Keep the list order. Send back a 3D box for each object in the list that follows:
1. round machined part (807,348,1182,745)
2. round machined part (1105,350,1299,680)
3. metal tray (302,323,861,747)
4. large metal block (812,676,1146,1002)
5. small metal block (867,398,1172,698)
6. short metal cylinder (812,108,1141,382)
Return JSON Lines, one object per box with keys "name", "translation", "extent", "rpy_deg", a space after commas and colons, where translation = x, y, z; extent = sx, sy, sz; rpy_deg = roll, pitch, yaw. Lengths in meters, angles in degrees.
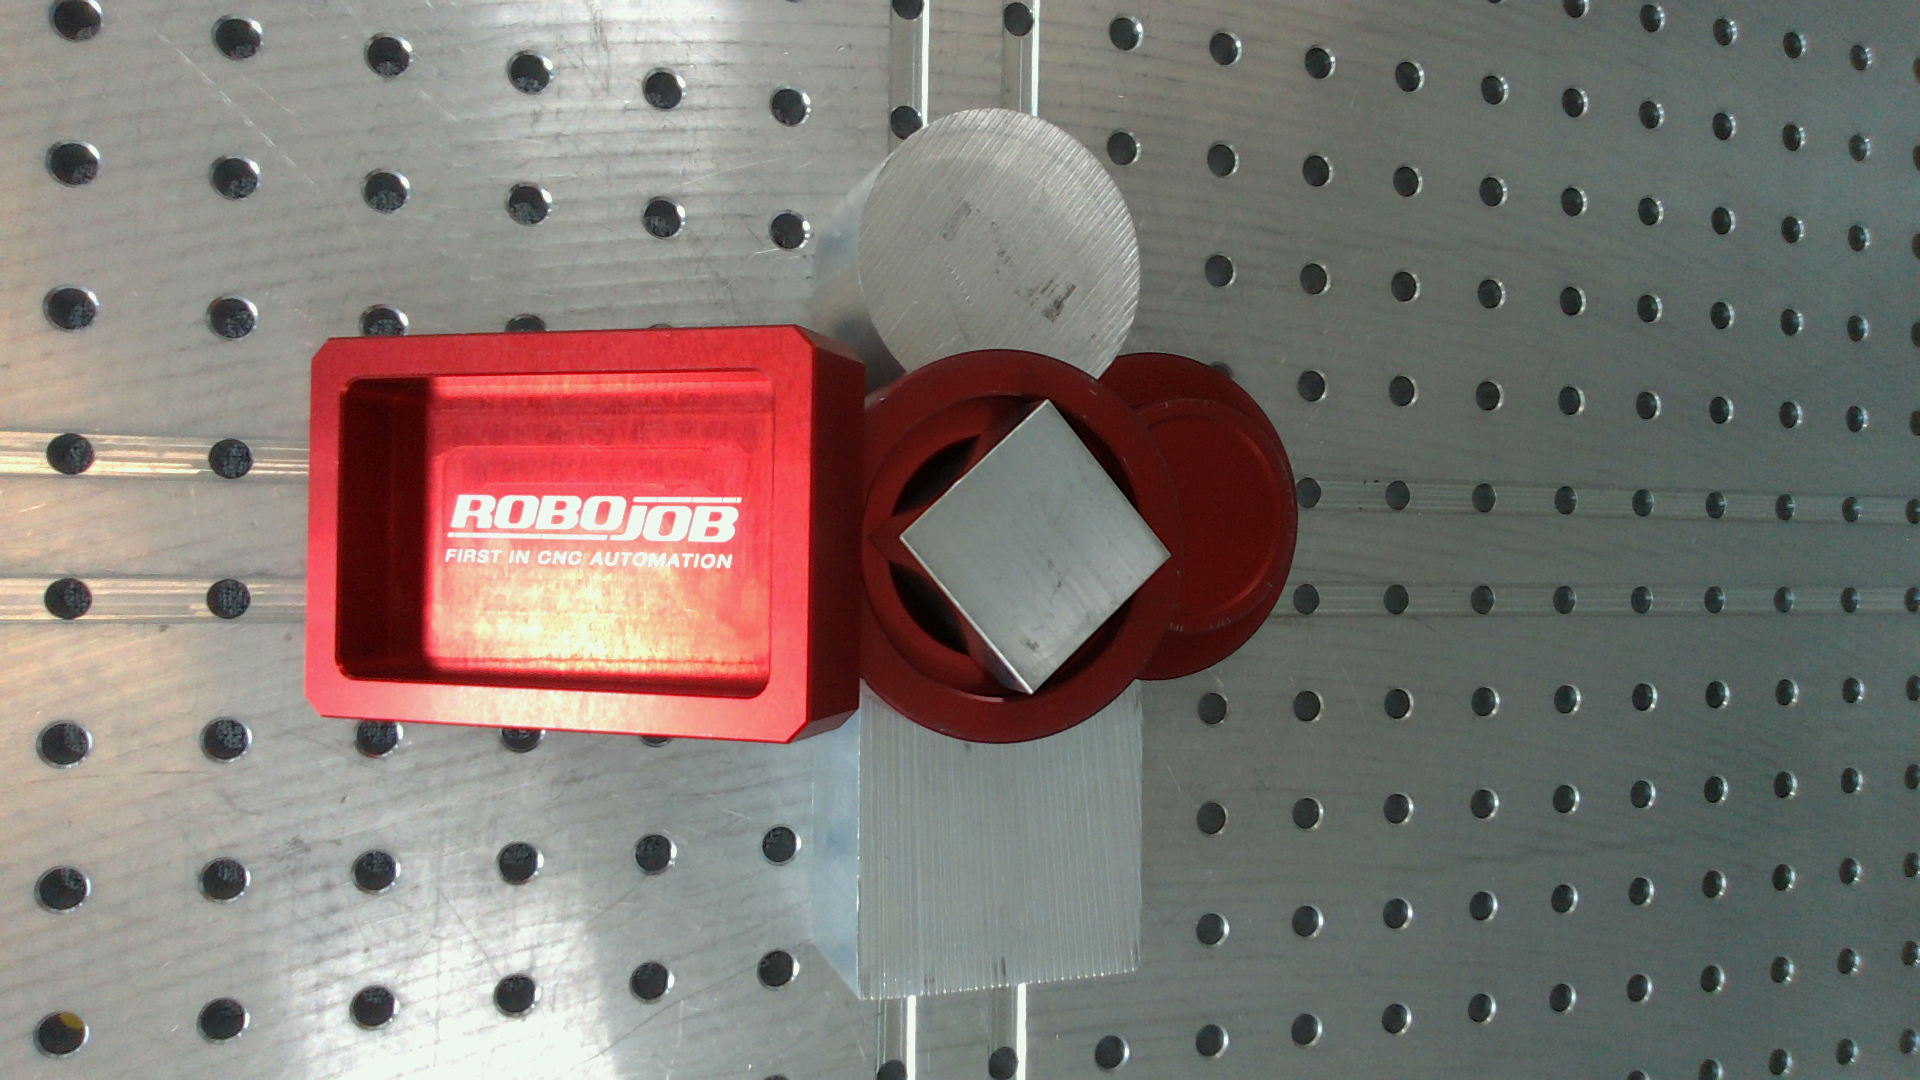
{"name": "round machined part", "translation": [0.005, 0.002, 0.358], "extent": [0.098, 0.042, 0.098], "rpy_deg": [0, 90, -20]}
{"name": "round machined part", "translation": [0.059, -0.007, 0.407], "extent": [0.098, 0.042, 0.098], "rpy_deg": [0, 90, -20]}
{"name": "metal tray", "translation": [-0.090, -0.002, 0.322], "extent": [0.130, 0.030, 0.090], "rpy_deg": [1, 90, 17]}
{"name": "large metal block", "translation": [0.004, 0.076, 0.381], "extent": [0.080, 0.050, 0.080], "rpy_deg": [1, 90, -20]}
{"name": "small metal block", "translation": [0.014, 0.002, 0.336], "extent": [0.050, 0.025, 0.050], "rpy_deg": [-43, 104, -15]}
{"name": "short metal cylinder", "translation": [0.003, -0.073, 0.383], "extent": [0.080, 0.050, 0.080], "rpy_deg": [0, 90, -20]}
